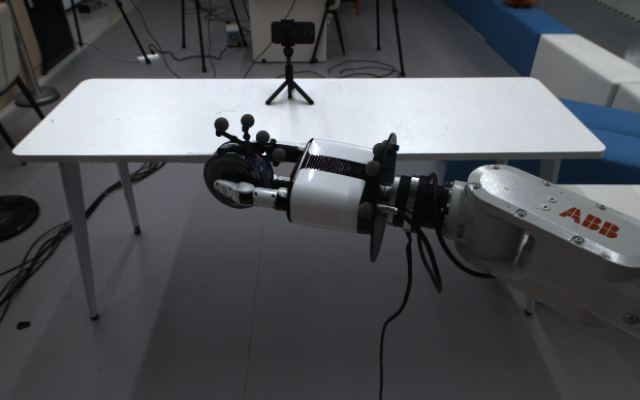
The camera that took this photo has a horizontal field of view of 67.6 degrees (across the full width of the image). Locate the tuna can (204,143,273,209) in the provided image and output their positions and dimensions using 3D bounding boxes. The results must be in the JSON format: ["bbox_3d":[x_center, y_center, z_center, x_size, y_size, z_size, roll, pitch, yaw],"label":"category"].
[{"bbox_3d":[-0.103,-0.025,0.623,0.085,0.085,0.034,12,35,14],"label":"tuna can"}]
